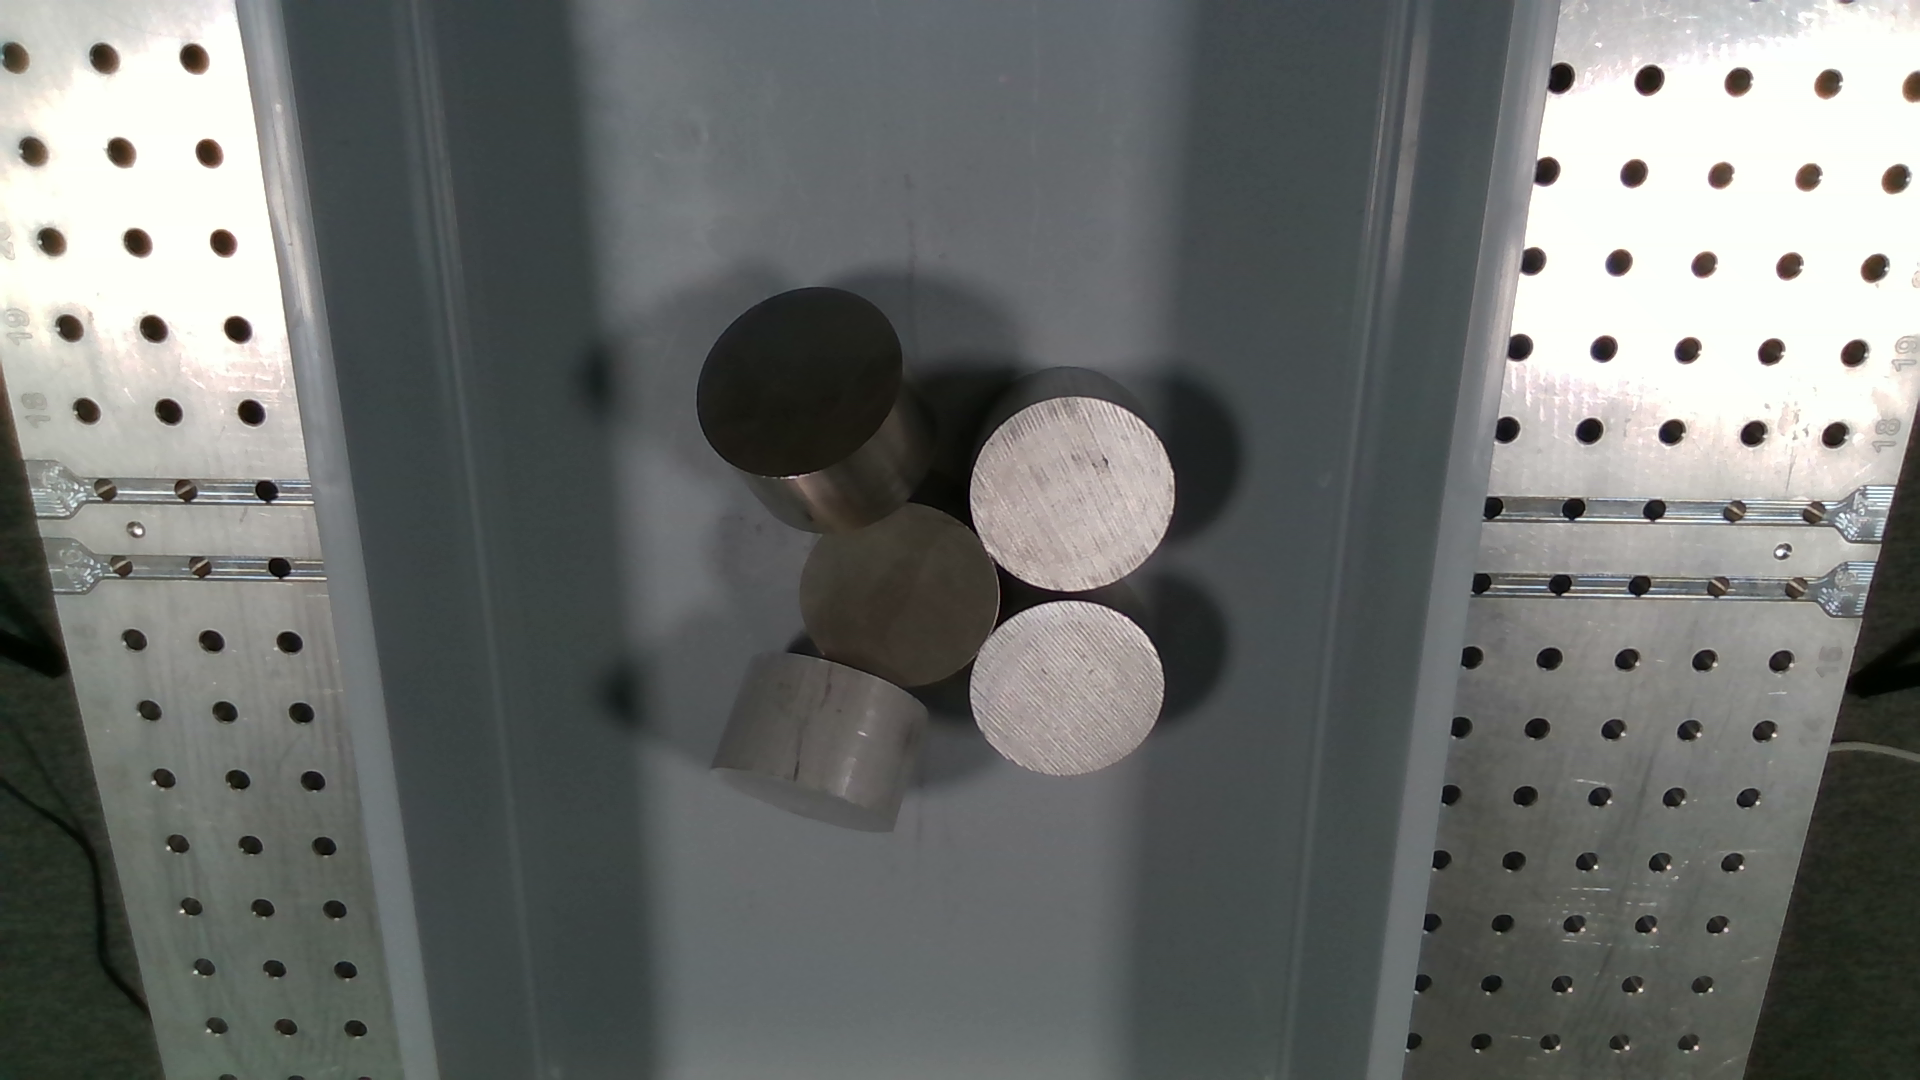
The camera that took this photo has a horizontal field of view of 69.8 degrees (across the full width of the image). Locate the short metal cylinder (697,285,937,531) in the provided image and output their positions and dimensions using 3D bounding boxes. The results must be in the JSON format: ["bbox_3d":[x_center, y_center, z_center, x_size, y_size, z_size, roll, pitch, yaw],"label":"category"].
[{"bbox_3d":[-0.054,-0.050,0.530,0.080,0.080,0.050,-19,153,7],"label":"short metal cylinder"}]

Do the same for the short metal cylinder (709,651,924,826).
[{"bbox_3d":[-0.059,0.085,0.579,0.080,0.080,0.050,19,70,-7],"label":"short metal cylinder"}]

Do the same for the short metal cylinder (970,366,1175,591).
[{"bbox_3d":[0.044,-0.026,0.559,0.080,0.050,0.080,0,110,0],"label":"short metal cylinder"}]

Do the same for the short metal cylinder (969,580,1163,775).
[{"bbox_3d":[0.044,0.053,0.590,0.080,0.050,0.080,0,110,0],"label":"short metal cylinder"}]

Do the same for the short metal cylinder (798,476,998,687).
[{"bbox_3d":[-0.025,0.014,0.574,0.080,0.050,0.080,0,110,0],"label":"short metal cylinder"}]
